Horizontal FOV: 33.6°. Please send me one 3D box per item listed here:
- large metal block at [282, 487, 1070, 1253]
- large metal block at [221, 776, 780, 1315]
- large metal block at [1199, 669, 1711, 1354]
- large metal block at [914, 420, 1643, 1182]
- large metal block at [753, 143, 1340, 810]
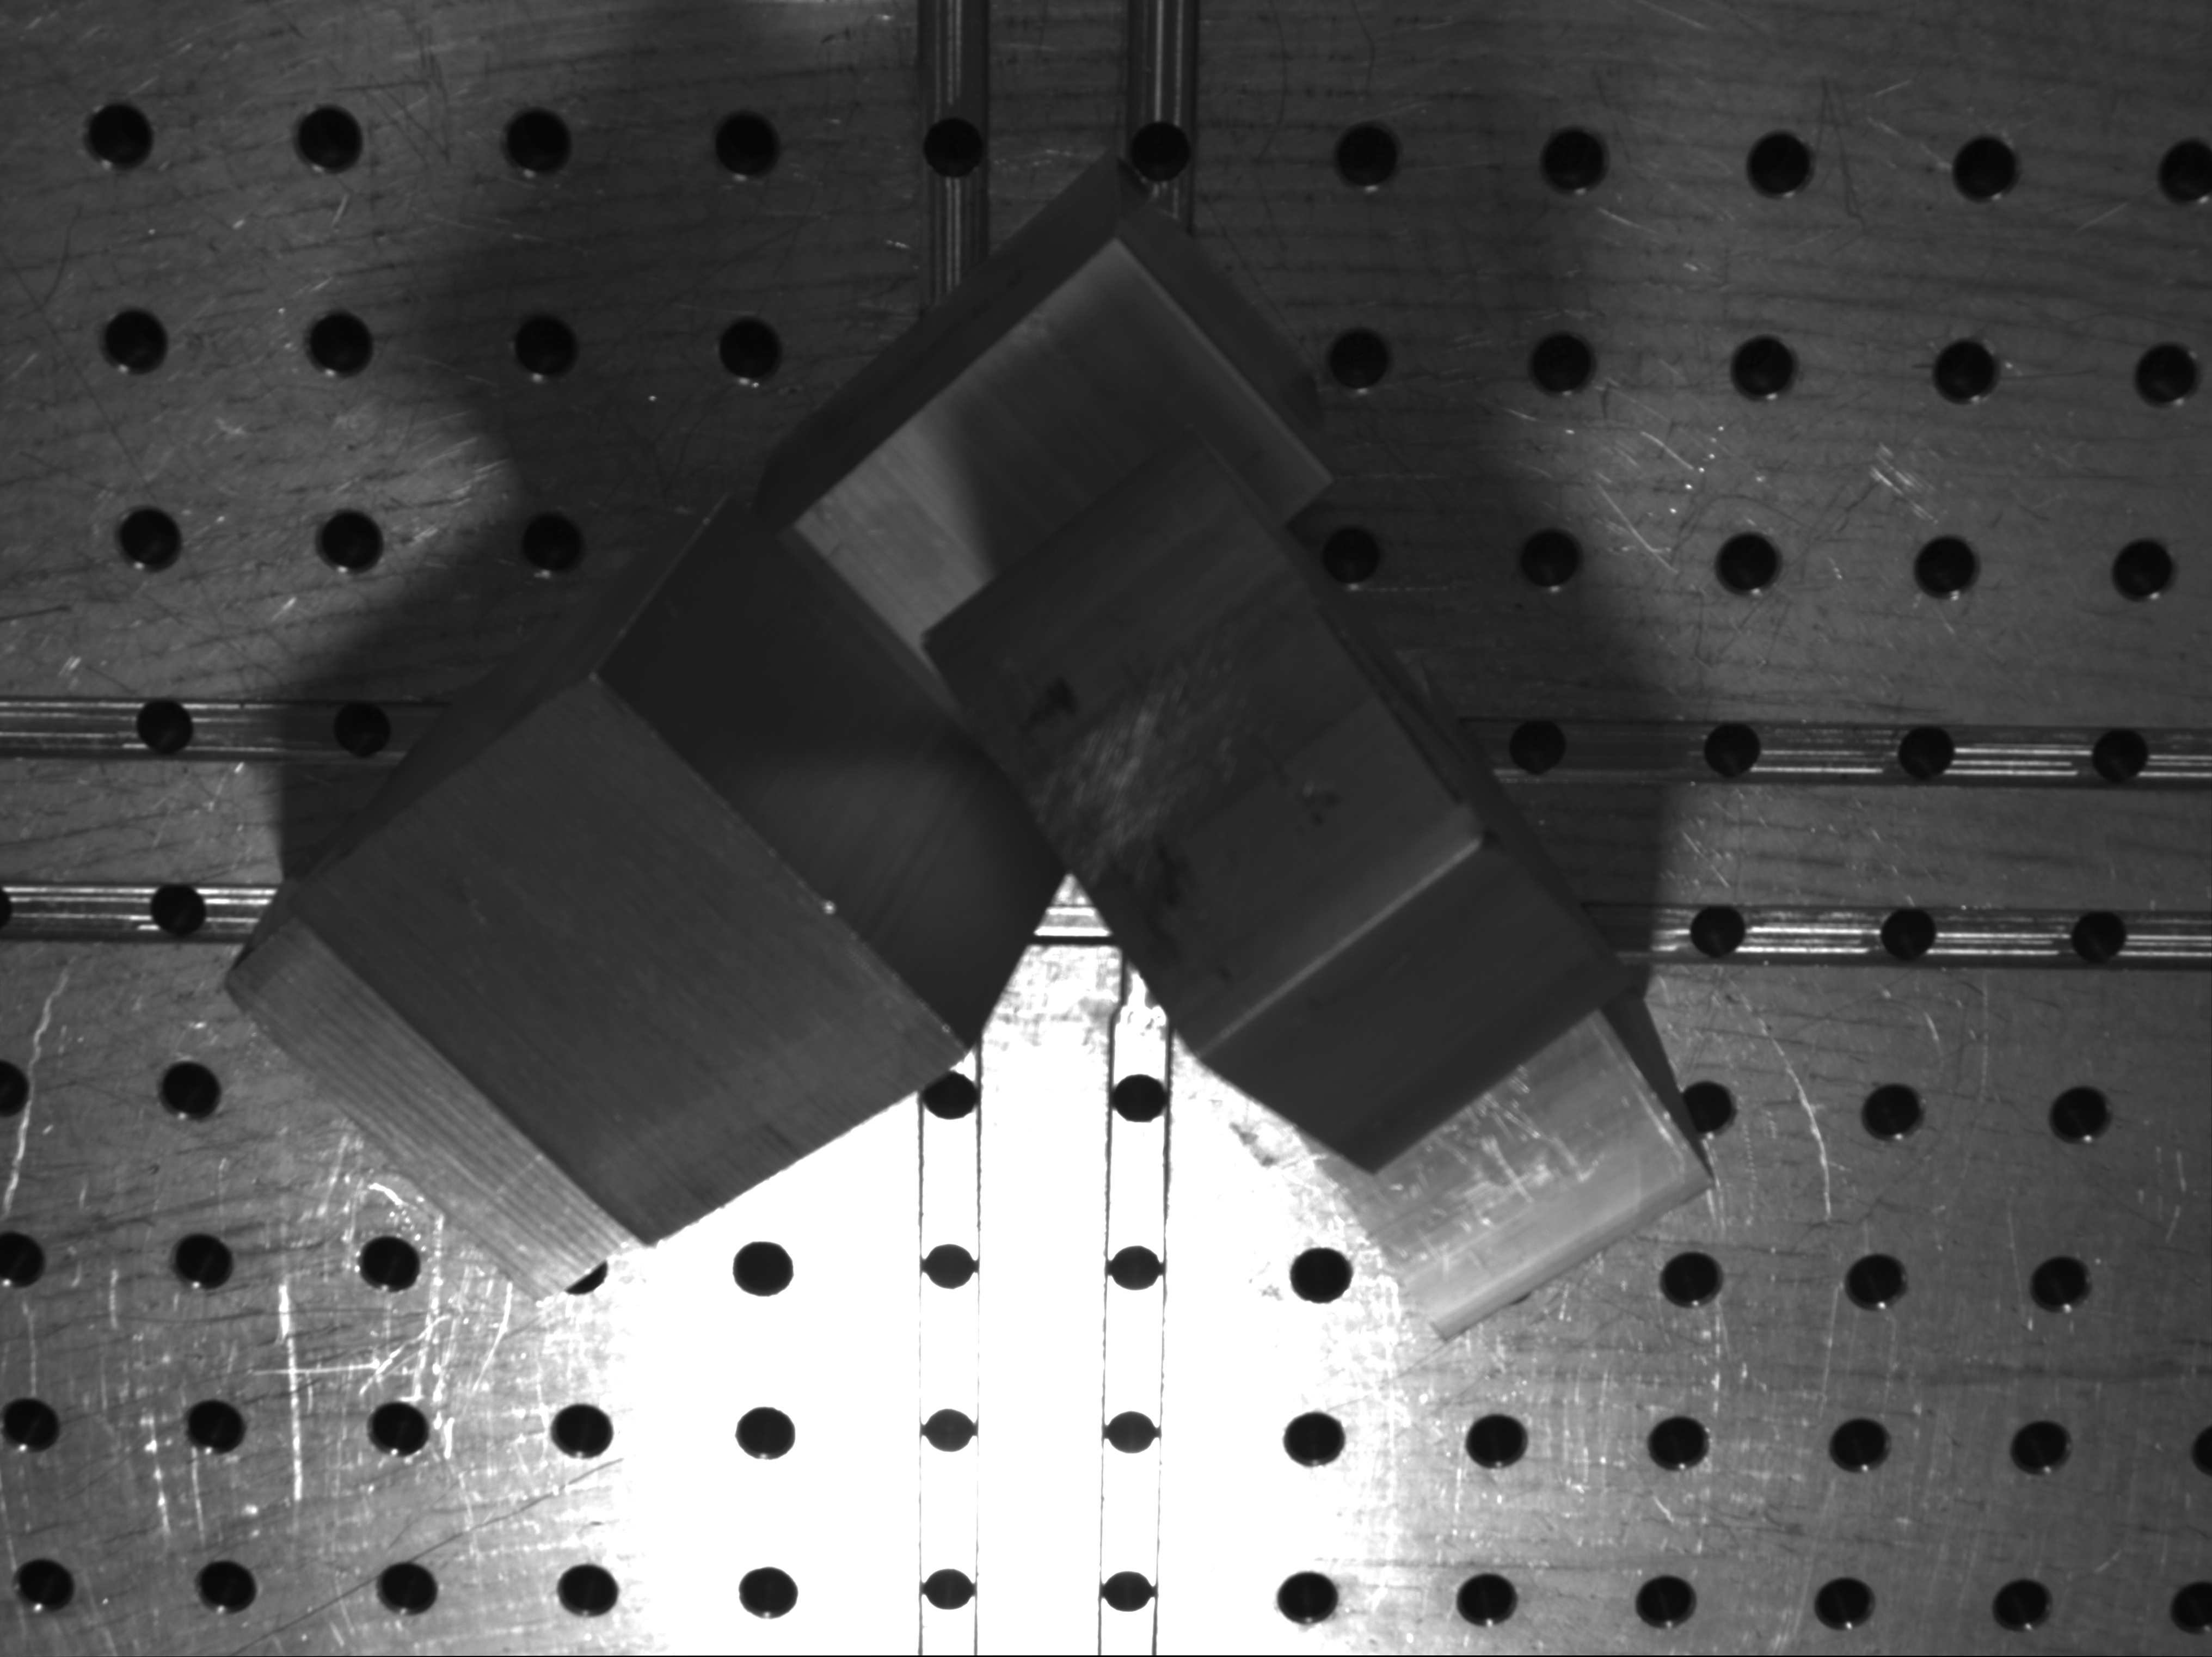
[{"bbox_3d":[-0.064,0.008,0.565,0.080,0.050,0.080,-32,109,37],"label":"large metal block"},{"bbox_3d":[-0.092,0.023,0.639,0.080,0.050,0.080,-38,106,12],"label":"large metal block"},{"bbox_3d":[0.055,0.029,0.626,0.050,0.080,0.080,-32,107,11],"label":"large metal block"},{"bbox_3d":[0.027,-0.002,0.541,0.050,0.080,0.080,-38,63,8],"label":"large metal block"},{"bbox_3d":[-0.011,-0.059,0.593,0.080,0.080,0.050,-40,105,13],"label":"large metal block"}]
